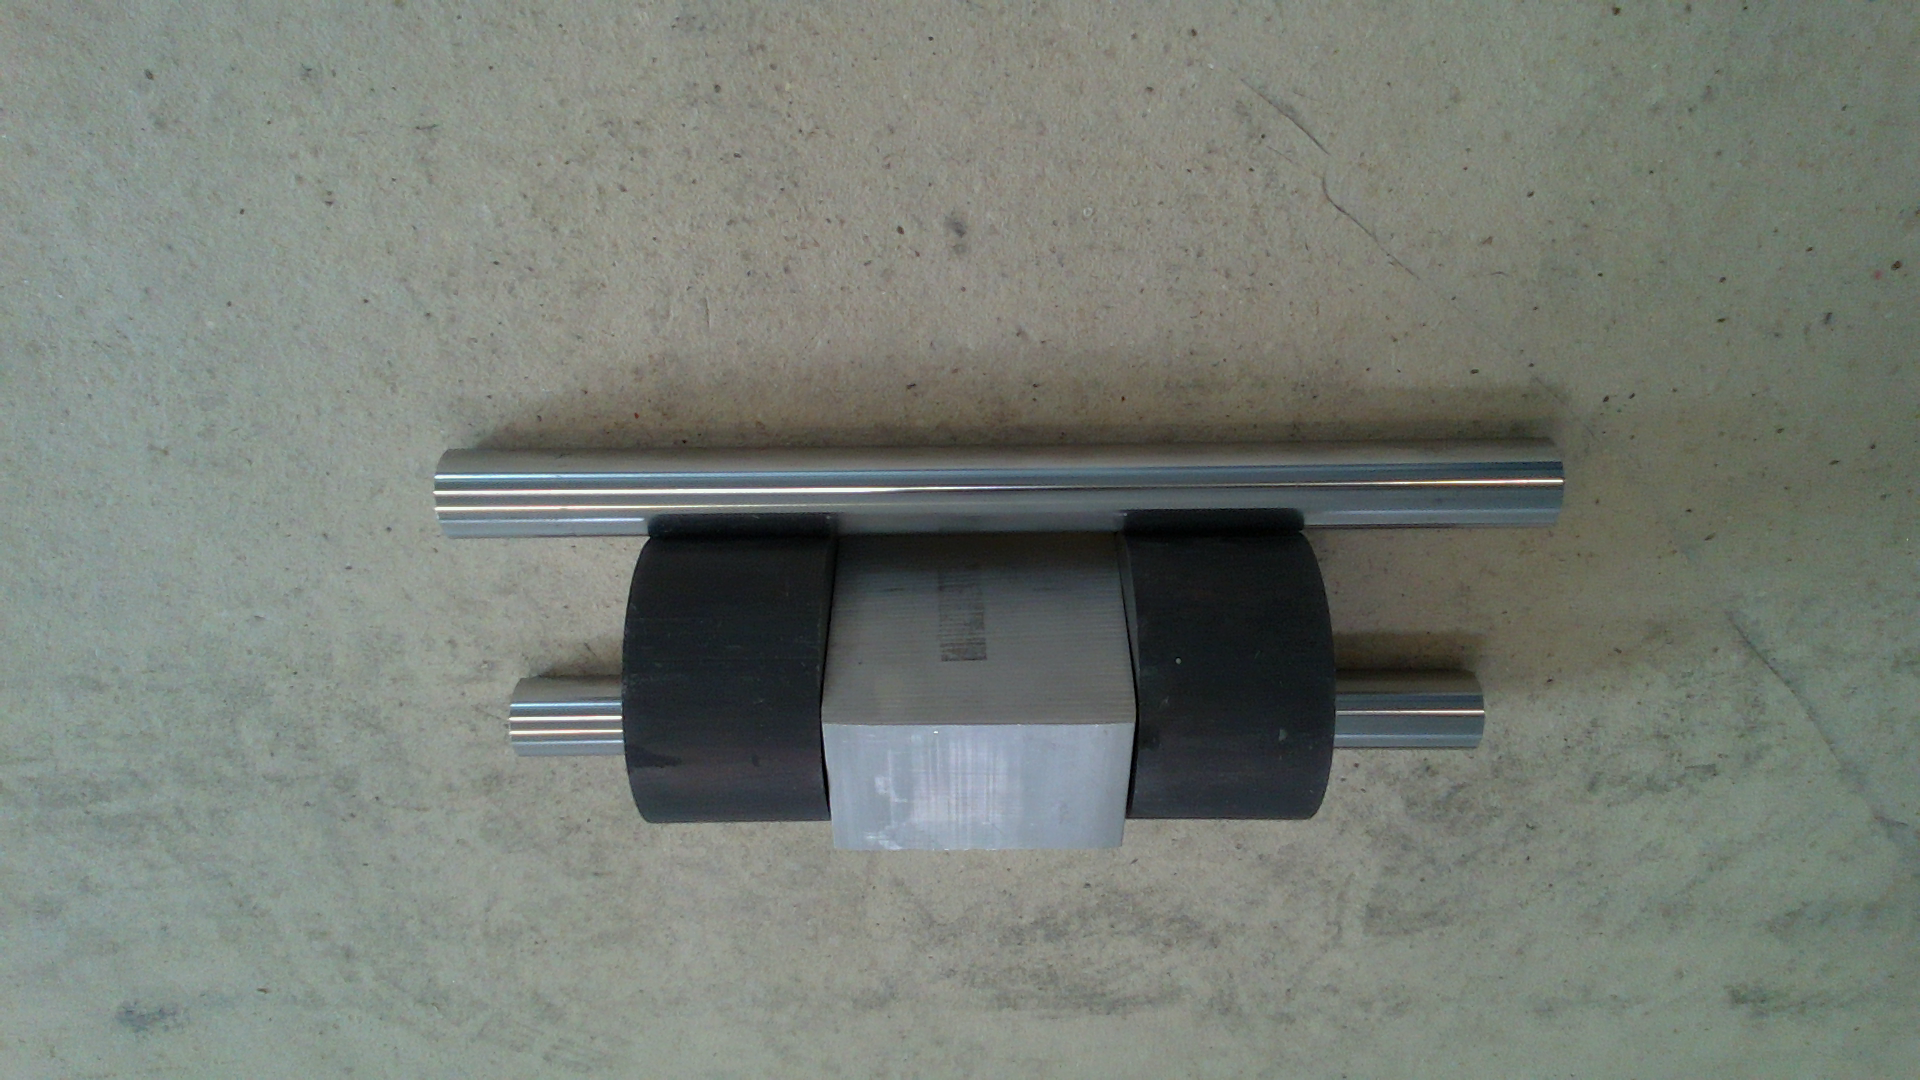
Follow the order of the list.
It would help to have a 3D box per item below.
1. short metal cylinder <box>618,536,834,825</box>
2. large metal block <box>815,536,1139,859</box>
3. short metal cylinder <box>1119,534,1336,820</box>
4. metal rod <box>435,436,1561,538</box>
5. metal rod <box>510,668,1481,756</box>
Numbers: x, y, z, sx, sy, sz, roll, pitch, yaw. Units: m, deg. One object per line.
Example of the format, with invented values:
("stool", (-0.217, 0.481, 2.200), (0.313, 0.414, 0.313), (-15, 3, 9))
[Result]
("short metal cylinder", (-0.061, 0.039, 0.387), (0.050, 0.080, 0.080), (-1, 130, 1))
("large metal block", (0.004, 0.041, 0.386), (0.080, 0.080, 0.050), (0, 130, 0))
("short metal cylinder", (0.070, 0.038, 0.386), (0.050, 0.080, 0.080), (-1, 130, 1))
("metal rod", (0.010, -0.014, 0.379), (0.300, 0.025, 0.025), (-1, 130, 0))
("metal rod", (0.011, 0.055, 0.437), (0.300, 0.025, 0.025), (-1, 130, 0))
